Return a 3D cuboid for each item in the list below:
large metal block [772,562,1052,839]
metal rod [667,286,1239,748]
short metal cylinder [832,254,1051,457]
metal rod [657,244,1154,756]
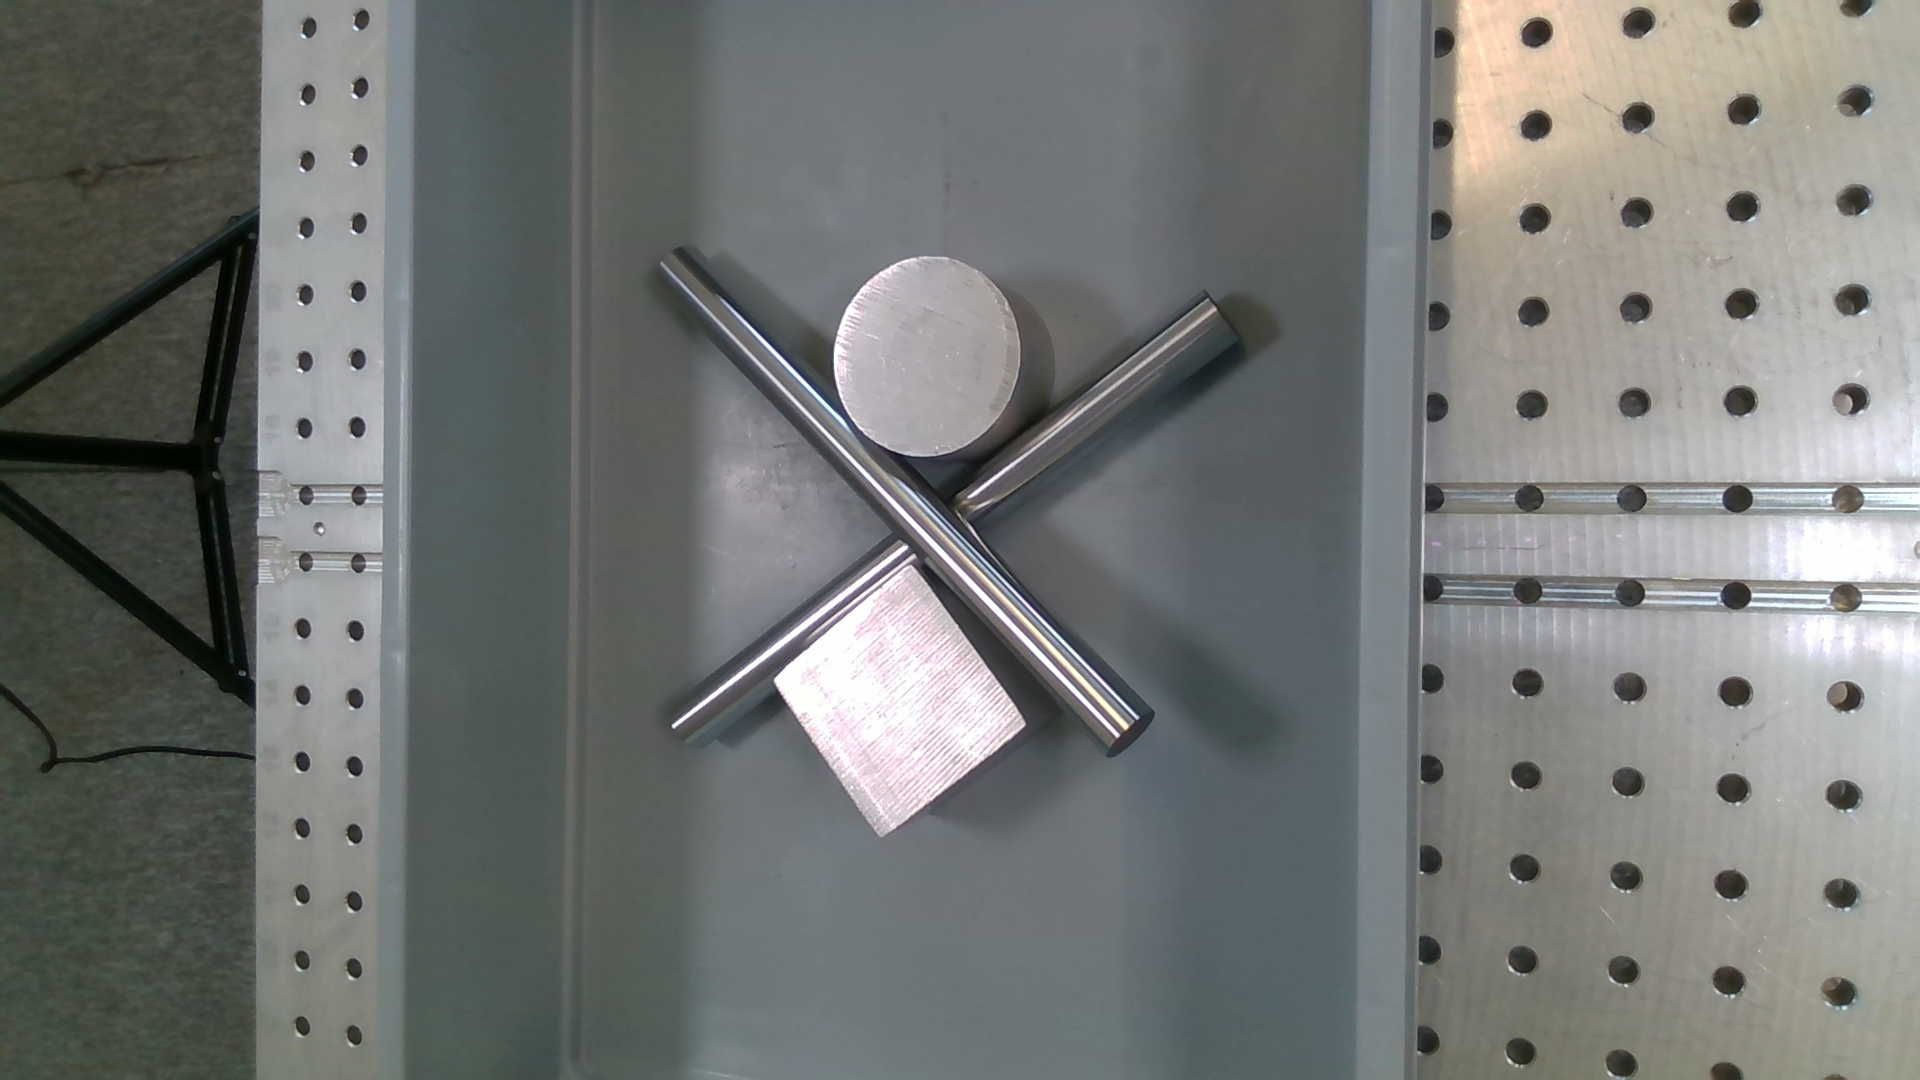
[{"bbox_3d":[-0.017,0.065,0.577,0.080,0.050,0.080,-40,77,16],"label":"large metal block"},{"bbox_3d":[-0.011,-0.003,0.588,0.300,0.025,0.025,-37,78,17],"label":"metal rod"},{"bbox_3d":[-0.006,-0.074,0.573,0.080,0.050,0.080,0,91,20],"label":"short metal cylinder"},{"bbox_3d":[-0.033,-0.026,0.574,0.299,0.025,0.025,46,105,23],"label":"metal rod"}]
